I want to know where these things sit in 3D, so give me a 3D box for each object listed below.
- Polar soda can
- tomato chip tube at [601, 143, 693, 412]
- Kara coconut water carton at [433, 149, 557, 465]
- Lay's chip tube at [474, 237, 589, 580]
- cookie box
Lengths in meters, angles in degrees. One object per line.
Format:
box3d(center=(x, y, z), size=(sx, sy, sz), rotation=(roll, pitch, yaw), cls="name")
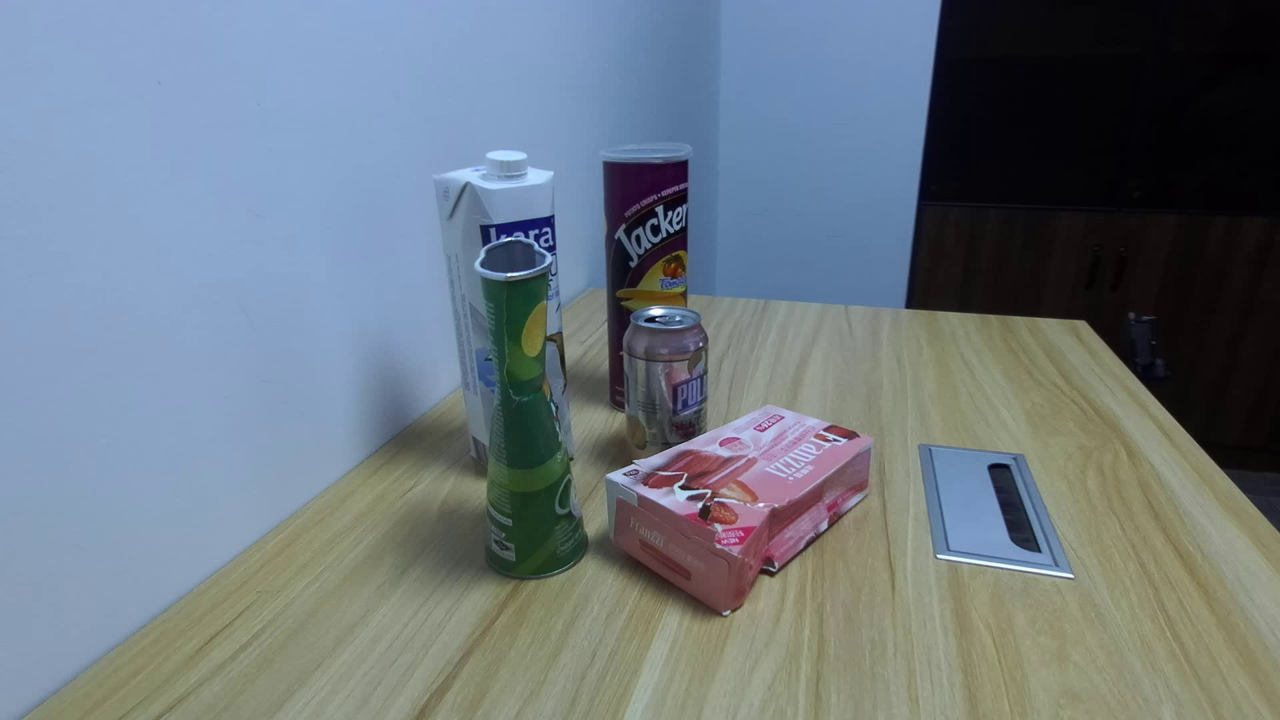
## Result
box3d(center=(0.022, 0.023, 0.566), size=(0.067, 0.125, 0.067), rotation=(0, 21, 0), cls="Polar soda can")
box3d(center=(0.008, -0.069, 0.650), size=(0.078, 0.234, 0.078), rotation=(-1, 20, 1), cls="tomato chip tube")
box3d(center=(-0.102, -0.035, 0.549), size=(0.077, 0.245, 0.075), rotation=(-17, 26, -33), cls="Kara coconut water carton")
box3d(center=(-0.072, 0.033, 0.439), size=(0.074, 0.199, 0.069), rotation=(17, 29, 38), cls="Lay's chip tube")
box3d(center=(0.076, 0.085, 0.488), size=(0.104, 0.059, 0.187), rotation=(20, 28, 38), cls="cookie box")
